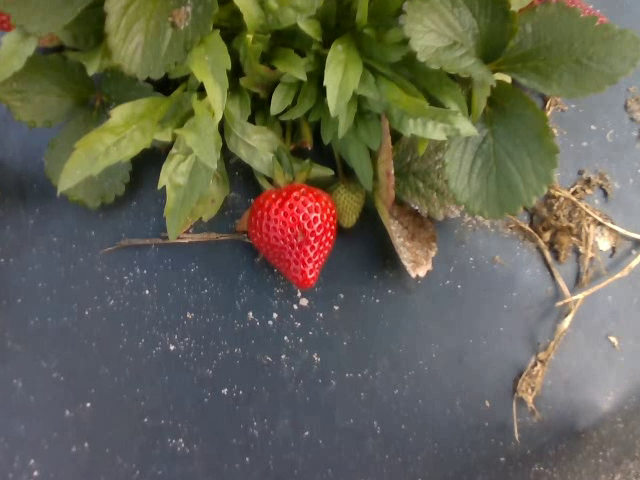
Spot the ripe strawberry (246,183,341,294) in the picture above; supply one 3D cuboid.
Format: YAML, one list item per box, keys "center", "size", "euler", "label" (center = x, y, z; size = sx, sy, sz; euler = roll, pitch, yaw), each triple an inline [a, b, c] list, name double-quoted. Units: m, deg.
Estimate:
- center: [-0.012, -0.001, 0.270]
  size: [0.043, 0.051, 0.043]
  euler: [-11, -12, -11]
  label: "ripe strawberry"

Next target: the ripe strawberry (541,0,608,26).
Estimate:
- center: [0.114, -0.101, 0.296]
  size: [0.046, 0.043, 0.046]
  euler: [8, 10, 16]
  label: "ripe strawberry"
